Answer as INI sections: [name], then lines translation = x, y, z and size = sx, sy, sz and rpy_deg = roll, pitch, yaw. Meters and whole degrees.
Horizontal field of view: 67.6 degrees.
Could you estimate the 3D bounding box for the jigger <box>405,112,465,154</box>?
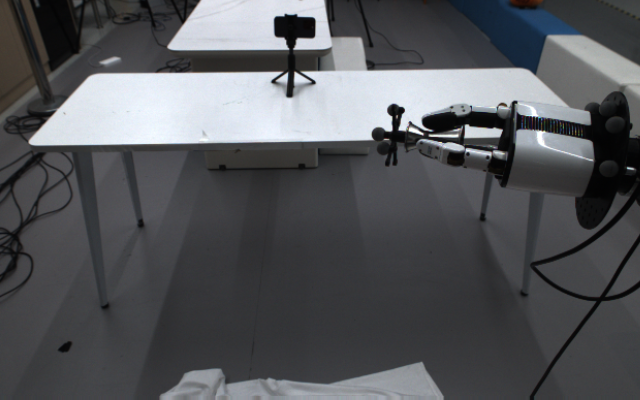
[jigger]
translation = 0.152, -0.083, 0.613
size = 0.071, 0.043, 0.043
rpy_deg = 7, 34, 21
